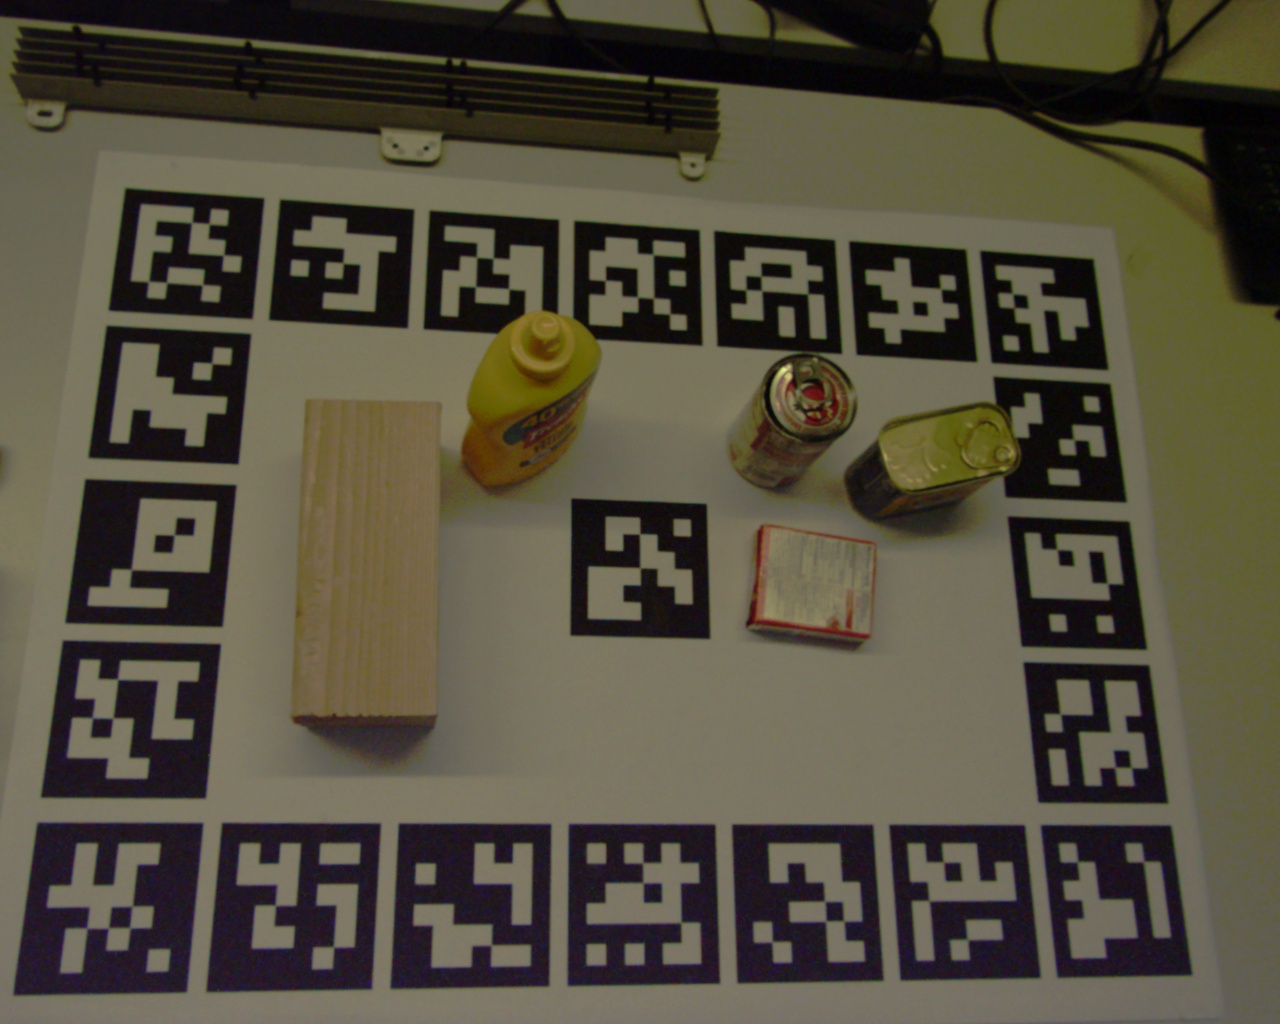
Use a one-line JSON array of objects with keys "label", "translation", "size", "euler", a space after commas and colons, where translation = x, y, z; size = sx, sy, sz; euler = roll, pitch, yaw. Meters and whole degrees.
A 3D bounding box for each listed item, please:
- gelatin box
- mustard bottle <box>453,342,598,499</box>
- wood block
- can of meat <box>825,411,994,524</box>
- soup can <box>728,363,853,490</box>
[{"label": "gelatin box", "translation": [0.124, 0.063, 0.854], "size": [0.089, 0.030, 0.073], "euler": [11, 75, -3]}, {"label": "mustard bottle", "translation": [-0.078, -0.068, 0.786], "size": [0.095, 0.192, 0.058], "euler": [-24, 79, -17]}, {"label": "wood block", "translation": [-0.180, 0.044, 0.786], "size": [0.090, 0.090, 0.207], "euler": [3, 70, -10]}, {"label": "can of meat", "translation": [0.202, -0.031, 0.870], "size": [0.101, 0.084, 0.058], "euler": [-12, 77, -15]}, {"label": "soup can", "translation": [0.108, -0.060, 0.845], "size": [0.067, 0.102, 0.068], "euler": [2, 76, -9]}]
